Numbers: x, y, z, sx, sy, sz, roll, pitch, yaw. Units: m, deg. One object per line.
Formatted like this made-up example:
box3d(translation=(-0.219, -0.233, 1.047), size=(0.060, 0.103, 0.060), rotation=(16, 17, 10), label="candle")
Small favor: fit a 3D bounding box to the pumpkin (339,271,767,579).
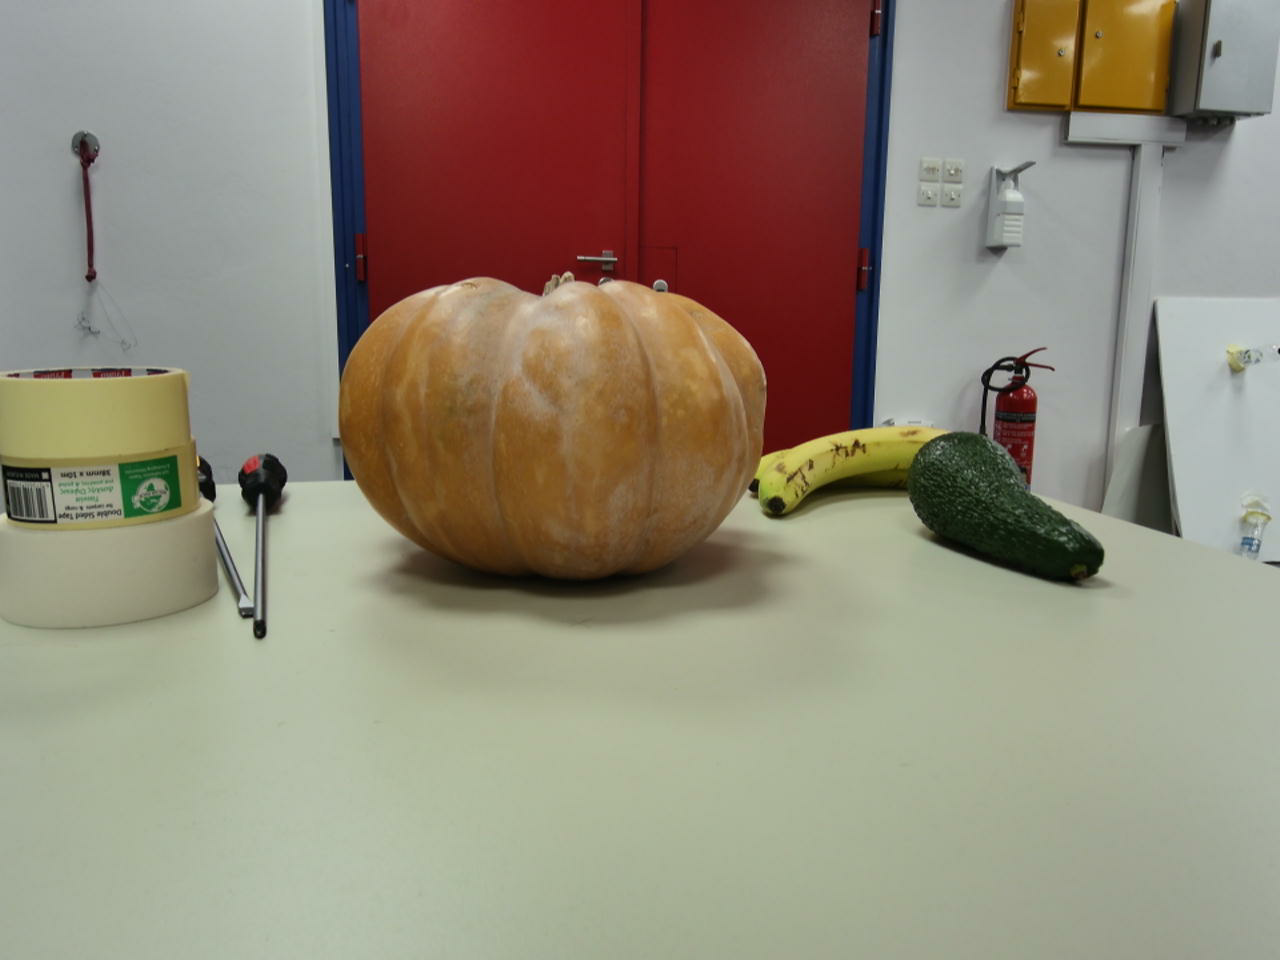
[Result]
box3d(translation=(-0.050, -0.037, 0.621), size=(0.277, 0.181, 0.277), rotation=(0, 8, 0), label="pumpkin")
